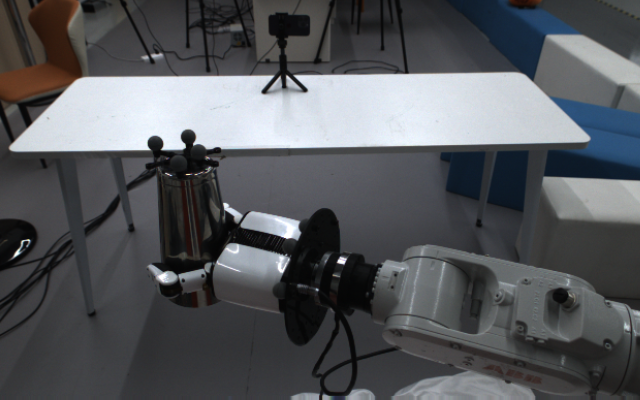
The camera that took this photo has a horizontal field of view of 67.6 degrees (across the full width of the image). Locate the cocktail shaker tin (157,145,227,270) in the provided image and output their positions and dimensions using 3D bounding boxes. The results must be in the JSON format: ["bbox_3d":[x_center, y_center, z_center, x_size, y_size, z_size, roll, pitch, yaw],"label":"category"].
[{"bbox_3d":[-0.152,0.035,0.589,0.093,0.170,0.093,1,28,0],"label":"cocktail shaker tin"}]
